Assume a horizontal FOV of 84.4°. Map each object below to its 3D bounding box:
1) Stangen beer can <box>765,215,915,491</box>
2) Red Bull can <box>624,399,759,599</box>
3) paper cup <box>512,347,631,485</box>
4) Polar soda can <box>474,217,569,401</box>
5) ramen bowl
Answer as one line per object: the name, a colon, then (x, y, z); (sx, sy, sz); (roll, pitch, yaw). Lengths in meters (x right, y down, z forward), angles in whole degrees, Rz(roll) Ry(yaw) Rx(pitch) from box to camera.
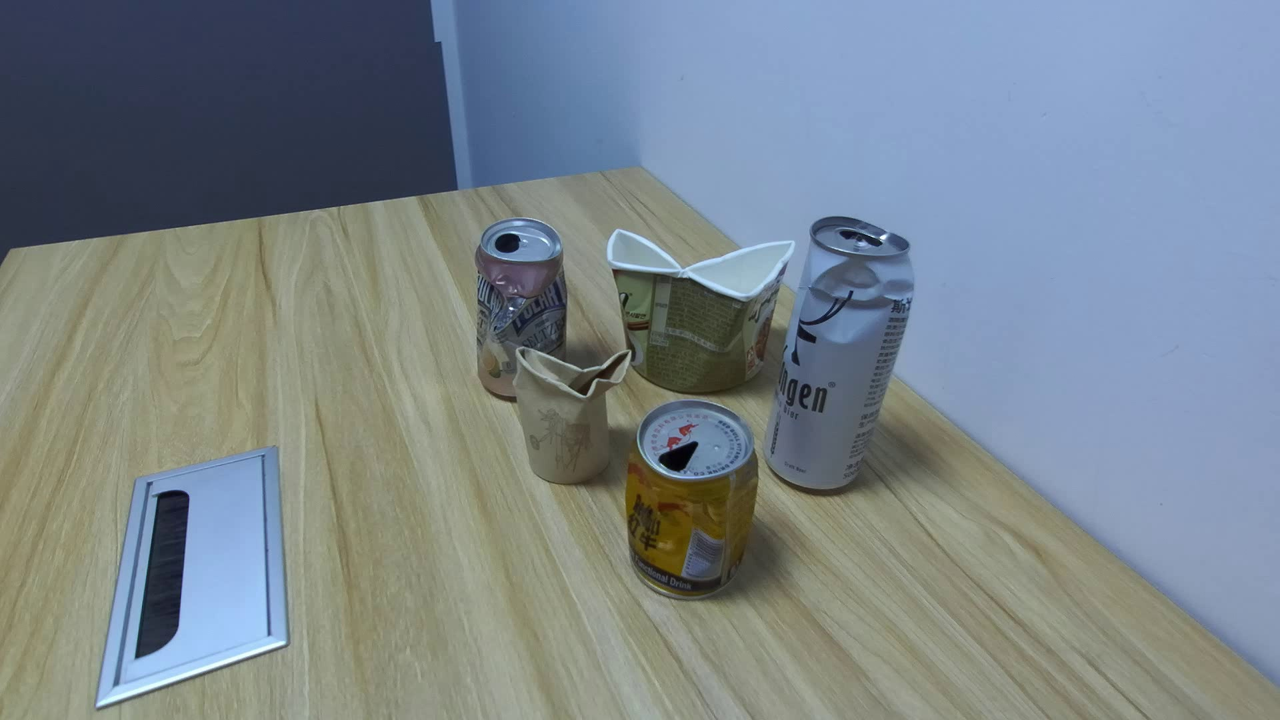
Stangen beer can: (0.118, 0.002, 0.426); (0.066, 0.166, 0.066); (10, 35, 12)
Red Bull can: (0.027, 0.075, 0.380); (0.072, 0.092, 0.072); (2, 37, -1)
paper cup: (-0.042, 0.031, 0.449); (0.066, 0.083, 0.058); (25, 39, 29)
Polar soda can: (-0.085, -0.033, 0.513); (0.067, 0.122, 0.071); (0, 35, -12)
ramen bowl: (0.040, -0.045, 0.544); (0.128, 0.093, 0.112); (16, 39, 20)
